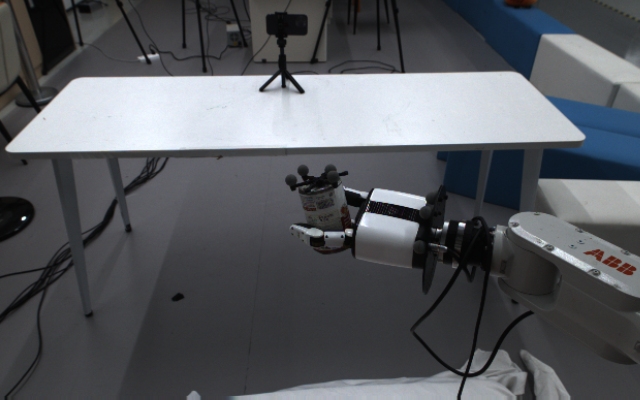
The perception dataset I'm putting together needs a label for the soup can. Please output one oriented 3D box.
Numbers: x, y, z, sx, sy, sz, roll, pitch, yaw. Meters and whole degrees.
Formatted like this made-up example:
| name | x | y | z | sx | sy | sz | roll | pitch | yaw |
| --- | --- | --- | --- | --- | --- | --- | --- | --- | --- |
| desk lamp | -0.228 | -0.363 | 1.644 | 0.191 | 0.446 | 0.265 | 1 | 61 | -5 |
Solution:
| name | x | y | z | sx | sy | sz | roll | pitch | yaw |
| --- | --- | --- | --- | --- | --- | --- | --- | --- | --- |
| soup can | 0.012 | 0.021 | 0.728 | 0.067 | 0.101 | 0.067 | -13 | 20 | 5 |
